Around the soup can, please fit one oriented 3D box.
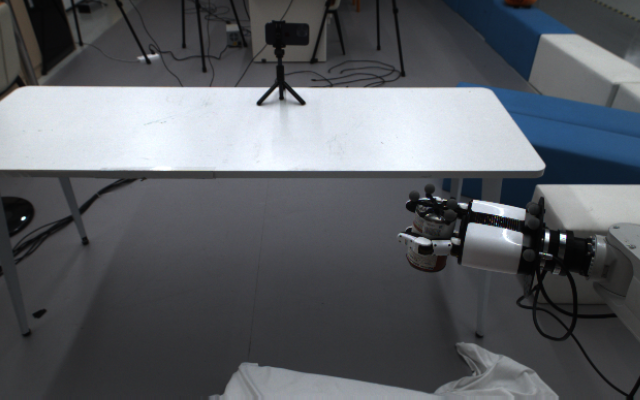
[{"bbox_3d":[0.184,0.059,0.797,0.067,0.101,0.067,4,30,-2],"label":"soup can"}]
